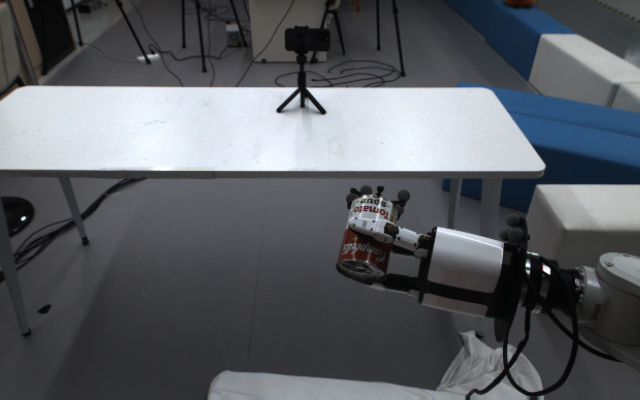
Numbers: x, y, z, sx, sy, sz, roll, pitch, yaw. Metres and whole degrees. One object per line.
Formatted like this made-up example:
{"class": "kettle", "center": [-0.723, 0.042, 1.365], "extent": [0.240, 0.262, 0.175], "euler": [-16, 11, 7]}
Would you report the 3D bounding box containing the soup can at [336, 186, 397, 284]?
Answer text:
{"class": "soup can", "center": [0.067, 0.050, 0.655], "extent": [0.067, 0.067, 0.101], "euler": [9, 60, 10]}
